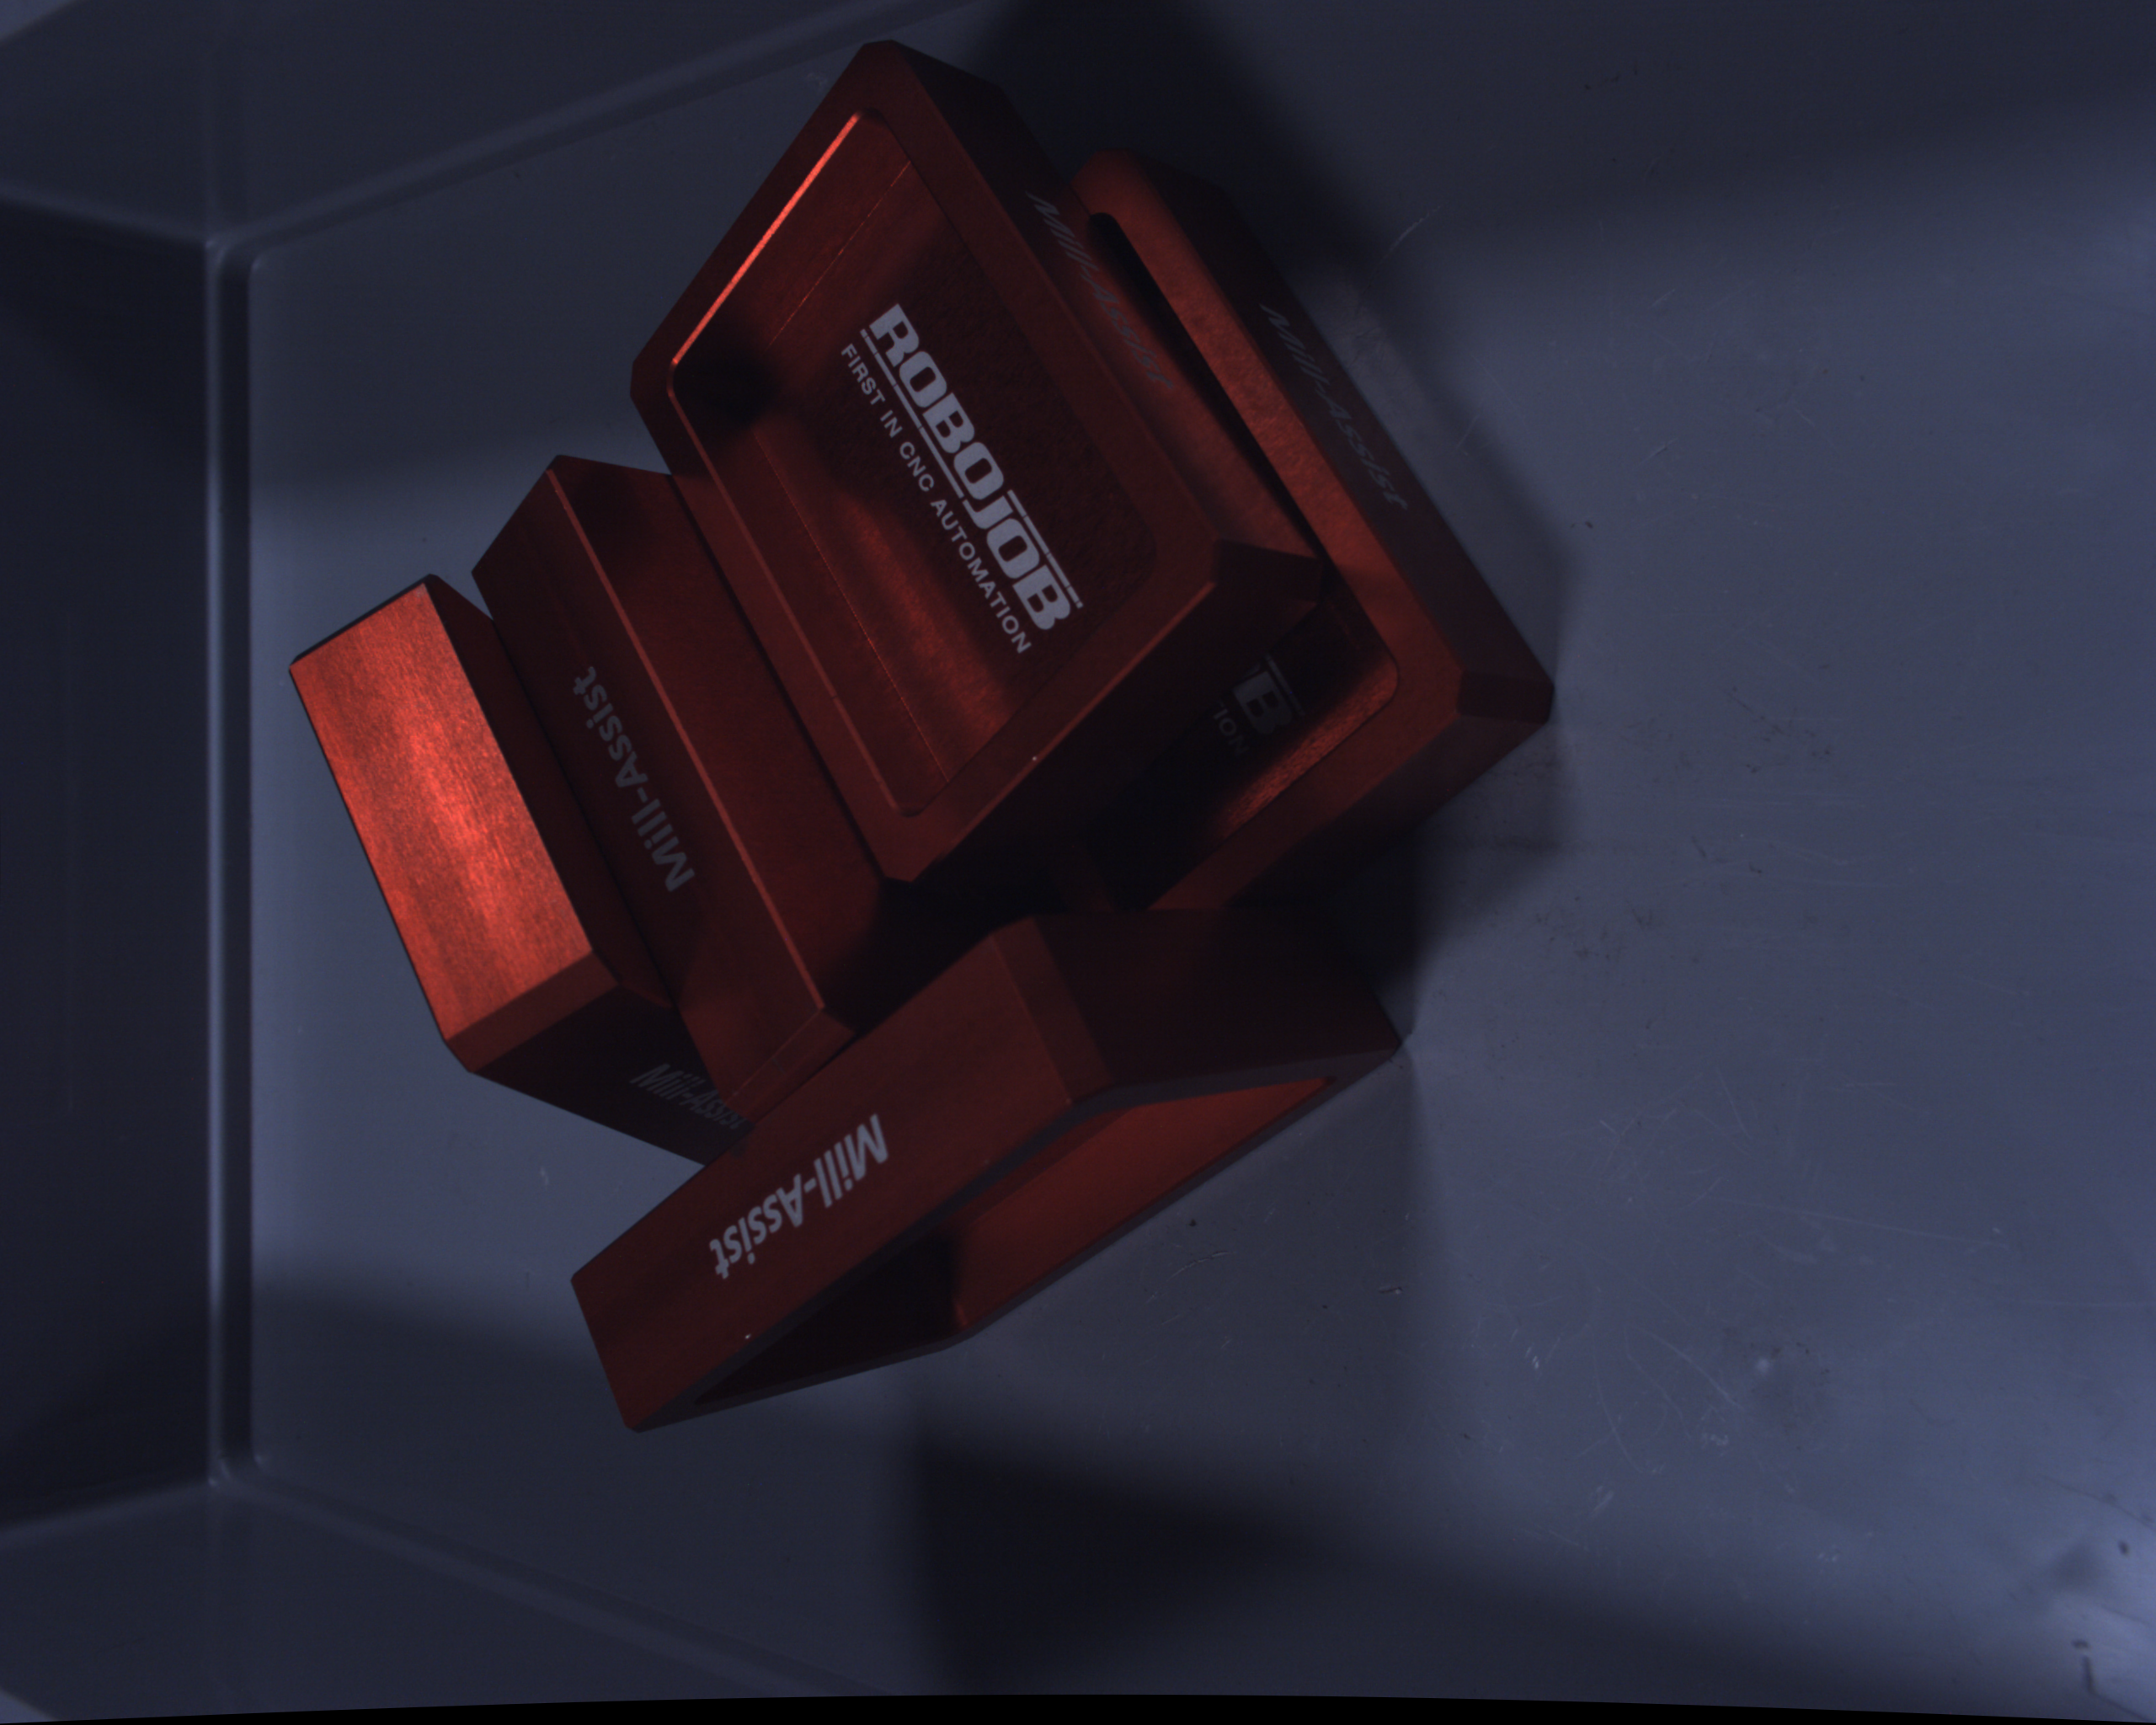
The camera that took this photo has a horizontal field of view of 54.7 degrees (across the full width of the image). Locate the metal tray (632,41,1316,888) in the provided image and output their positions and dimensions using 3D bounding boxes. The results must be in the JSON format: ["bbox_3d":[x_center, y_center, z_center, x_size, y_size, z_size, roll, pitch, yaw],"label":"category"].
[{"bbox_3d":[-0.025,-0.071,0.380,0.090,0.030,0.130,-44,63,31],"label":"metal tray"}]

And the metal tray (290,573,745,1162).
[{"bbox_3d":[-0.093,0.009,0.412,0.030,0.130,0.090,-31,67,3],"label":"metal tray"}]

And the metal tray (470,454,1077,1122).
[{"bbox_3d":[-0.050,-0.016,0.400,0.030,0.091,0.130,-44,64,31],"label":"metal tray"}]

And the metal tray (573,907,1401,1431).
[{"bbox_3d":[-0.017,0.055,0.375,0.130,0.091,0.030,-39,66,32],"label":"metal tray"}]

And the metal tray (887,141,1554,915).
[{"bbox_3d":[0.017,-0.055,0.387,0.090,0.030,0.130,-42,64,33],"label":"metal tray"}]
